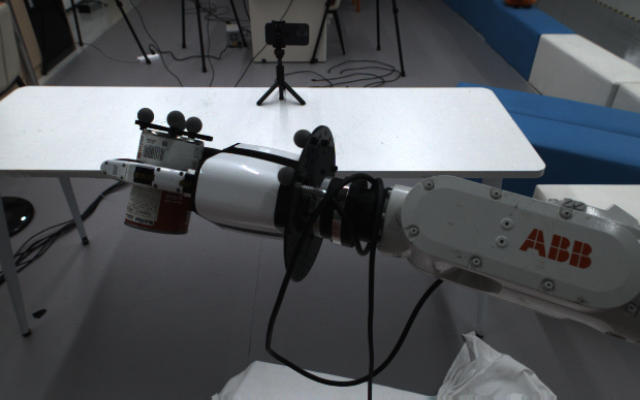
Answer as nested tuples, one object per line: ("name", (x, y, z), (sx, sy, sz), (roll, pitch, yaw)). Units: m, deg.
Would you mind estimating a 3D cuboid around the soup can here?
("soup can", (-0.166, -0.019, 0.523), (0.067, 0.101, 0.067), (11, 3, 0))
